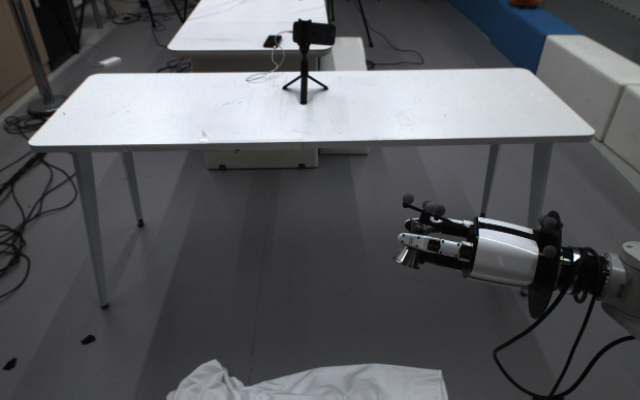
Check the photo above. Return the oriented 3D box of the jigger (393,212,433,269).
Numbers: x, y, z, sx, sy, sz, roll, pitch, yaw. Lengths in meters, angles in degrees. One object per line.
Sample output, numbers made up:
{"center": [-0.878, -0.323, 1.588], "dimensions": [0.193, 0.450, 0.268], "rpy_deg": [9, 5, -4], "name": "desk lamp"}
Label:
{"center": [0.143, 0.065, 0.741], "dimensions": [0.043, 0.071, 0.043], "rpy_deg": [22, 5, -2], "name": "jigger"}
